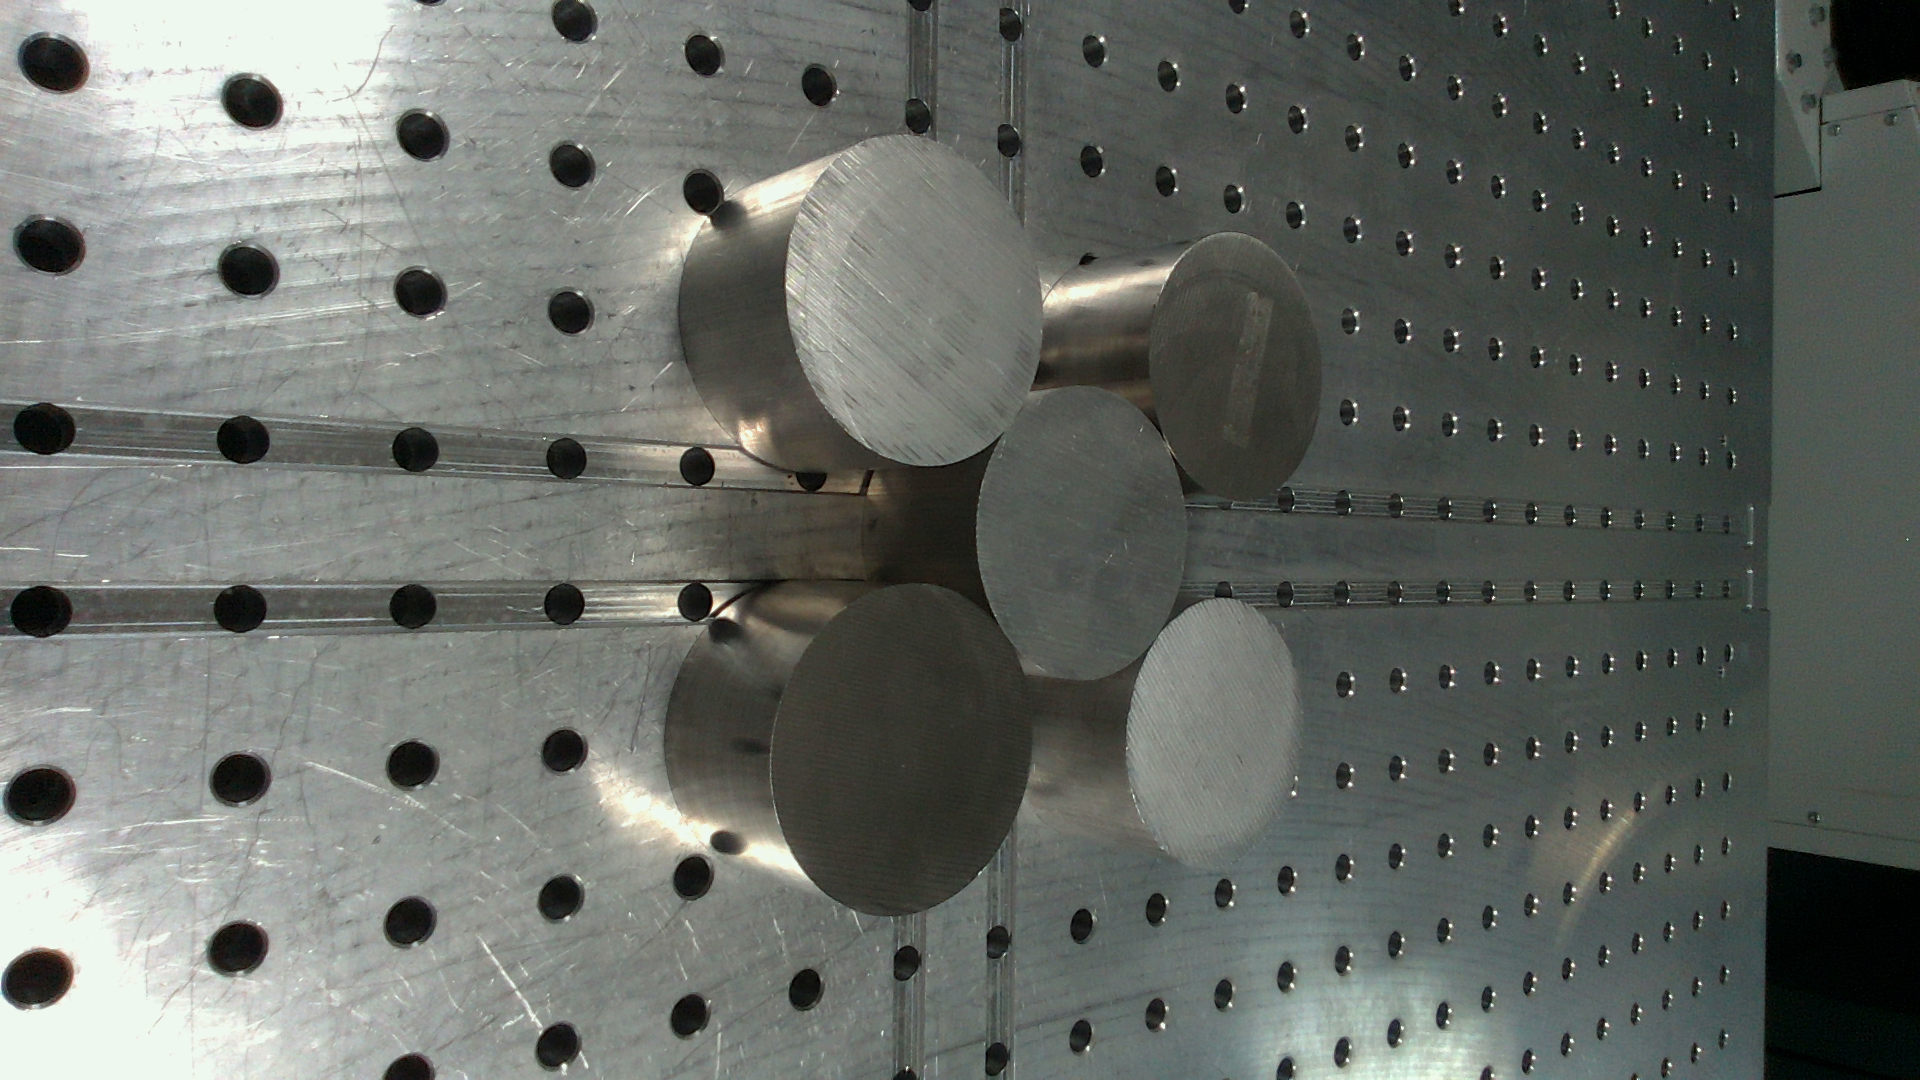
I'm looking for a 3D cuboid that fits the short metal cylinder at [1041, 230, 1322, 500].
[{"bbox_3d":[0.068,-0.052,0.430,0.080,0.050,0.080,0,90,-40],"label":"short metal cylinder"}]

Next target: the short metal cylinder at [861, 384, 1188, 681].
[{"bbox_3d":[0.019,-0.002,0.391,0.080,0.050,0.080,0,90,-40],"label":"short metal cylinder"}]

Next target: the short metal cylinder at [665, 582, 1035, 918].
[{"bbox_3d":[-0.027,0.051,0.352,0.080,0.050,0.080,0,90,-40],"label":"short metal cylinder"}]

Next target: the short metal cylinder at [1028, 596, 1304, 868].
[{"bbox_3d":[0.062,0.056,0.426,0.080,0.050,0.080,0,90,-40],"label":"short metal cylinder"}]

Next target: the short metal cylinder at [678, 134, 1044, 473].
[{"bbox_3d":[-0.025,-0.058,0.354,0.080,0.050,0.080,0,90,-40],"label":"short metal cylinder"}]
